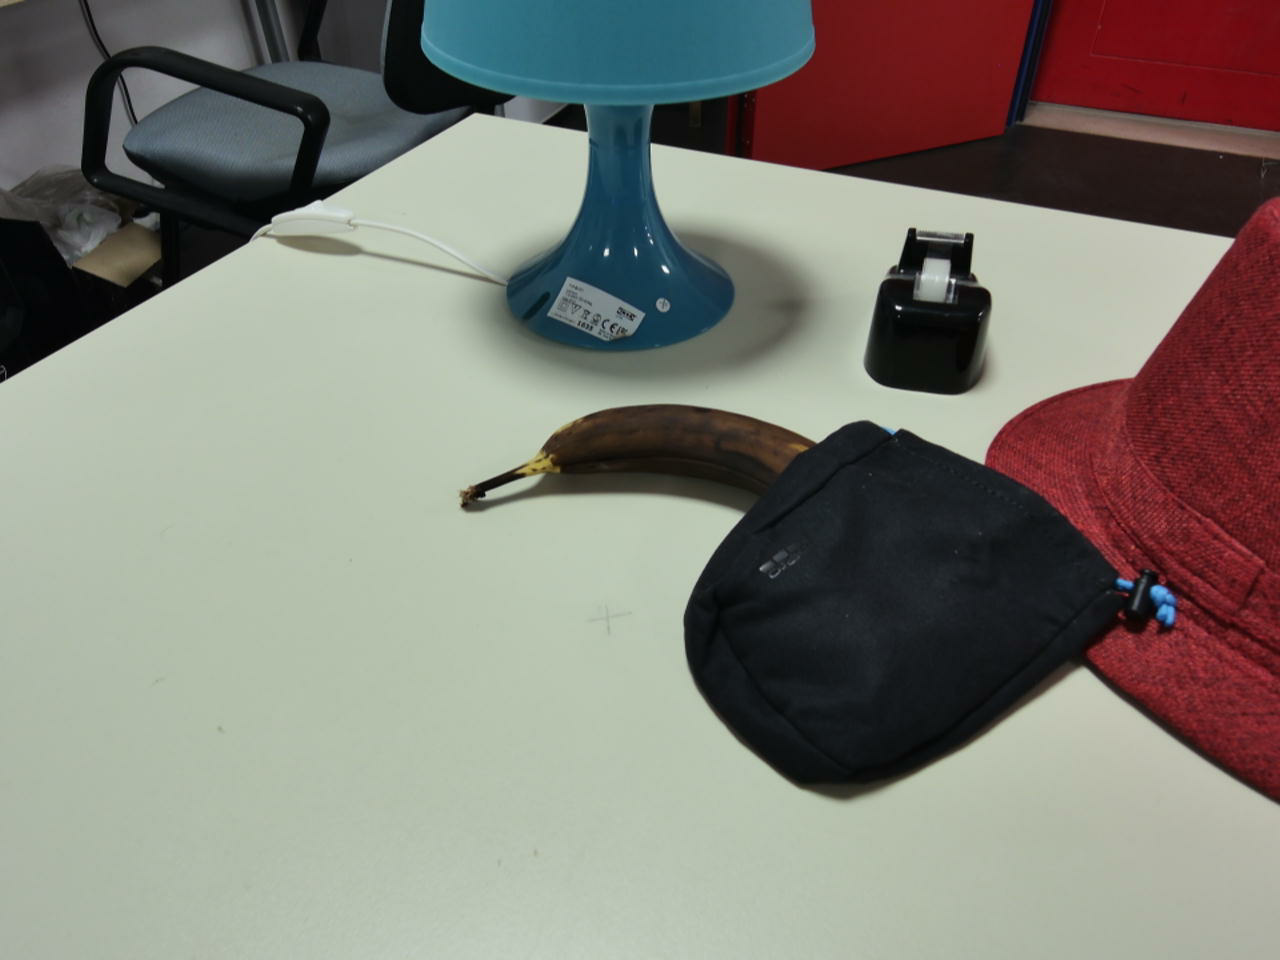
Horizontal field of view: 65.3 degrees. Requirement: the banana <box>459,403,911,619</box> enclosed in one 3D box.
[{"bbox_3d":[0.025,0.000,0.420,0.188,0.034,0.091,17,41,22],"label":"banana"}]
